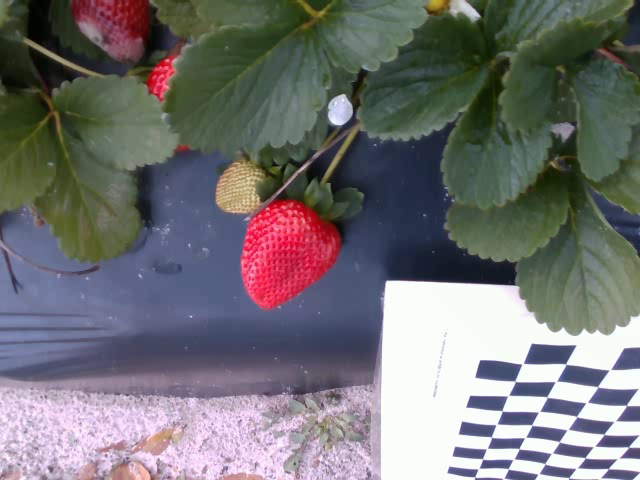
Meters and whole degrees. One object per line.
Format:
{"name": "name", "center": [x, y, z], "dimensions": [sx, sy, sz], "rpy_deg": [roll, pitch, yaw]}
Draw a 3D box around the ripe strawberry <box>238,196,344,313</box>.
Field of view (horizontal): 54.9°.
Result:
{"name": "ripe strawberry", "center": [-0.019, 0.012, 0.331], "dimensions": [0.056, 0.065, 0.057], "rpy_deg": [35, -28, -33]}
